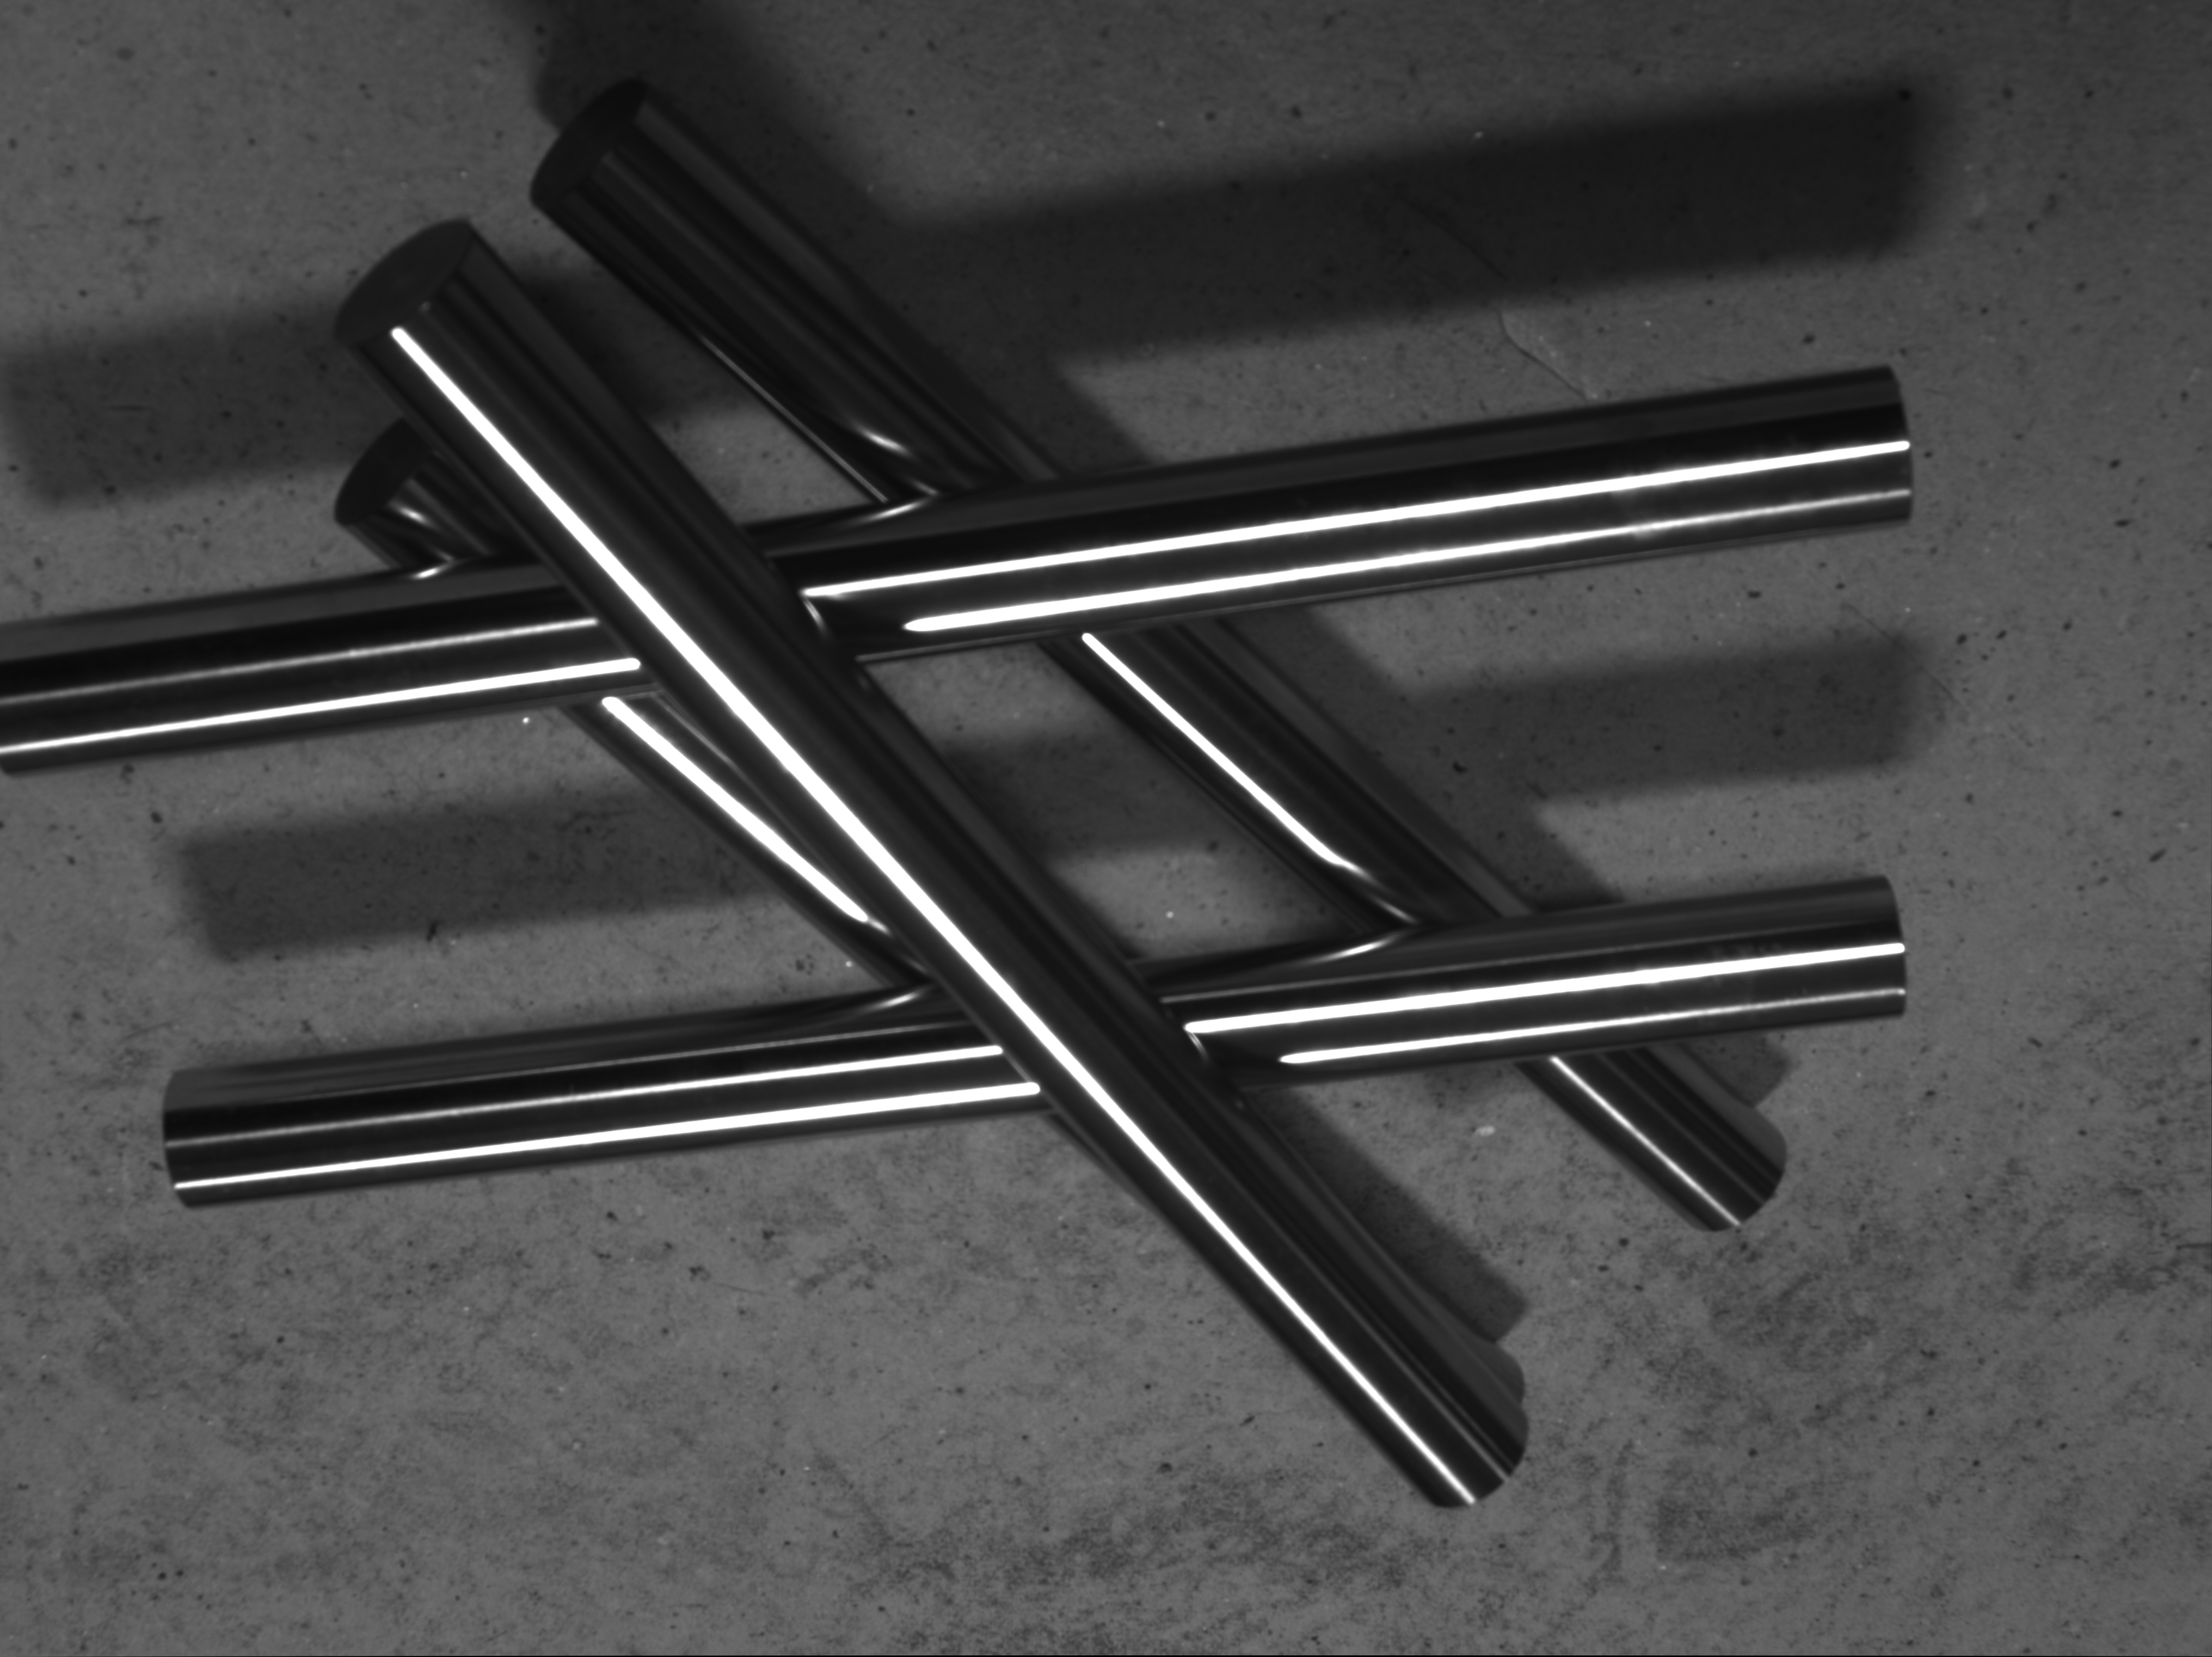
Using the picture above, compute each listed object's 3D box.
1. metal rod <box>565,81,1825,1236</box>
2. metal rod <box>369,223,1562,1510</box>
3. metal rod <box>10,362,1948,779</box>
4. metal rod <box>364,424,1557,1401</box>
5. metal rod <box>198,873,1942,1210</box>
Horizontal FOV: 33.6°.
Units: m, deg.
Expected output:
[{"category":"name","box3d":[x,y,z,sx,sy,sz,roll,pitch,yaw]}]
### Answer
[{"category":"metal rod","box3d":[0.027,-0.018,0.624,0.025,0.025,0.301,-35,123,24]},{"category":"metal rod","box3d":[-0.010,0.020,0.590,0.025,0.025,0.301,-27,126,20]},{"category":"metal rod","box3d":[-0.022,-0.040,0.572,0.300,0.025,0.025,-7,130,4]},{"category":"metal rod","box3d":[-0.015,0.031,0.663,0.025,0.025,0.301,-33,124,23]},{"category":"metal rod","box3d":[-0.008,0.038,0.638,0.300,0.025,0.025,-7,130,4]}]
